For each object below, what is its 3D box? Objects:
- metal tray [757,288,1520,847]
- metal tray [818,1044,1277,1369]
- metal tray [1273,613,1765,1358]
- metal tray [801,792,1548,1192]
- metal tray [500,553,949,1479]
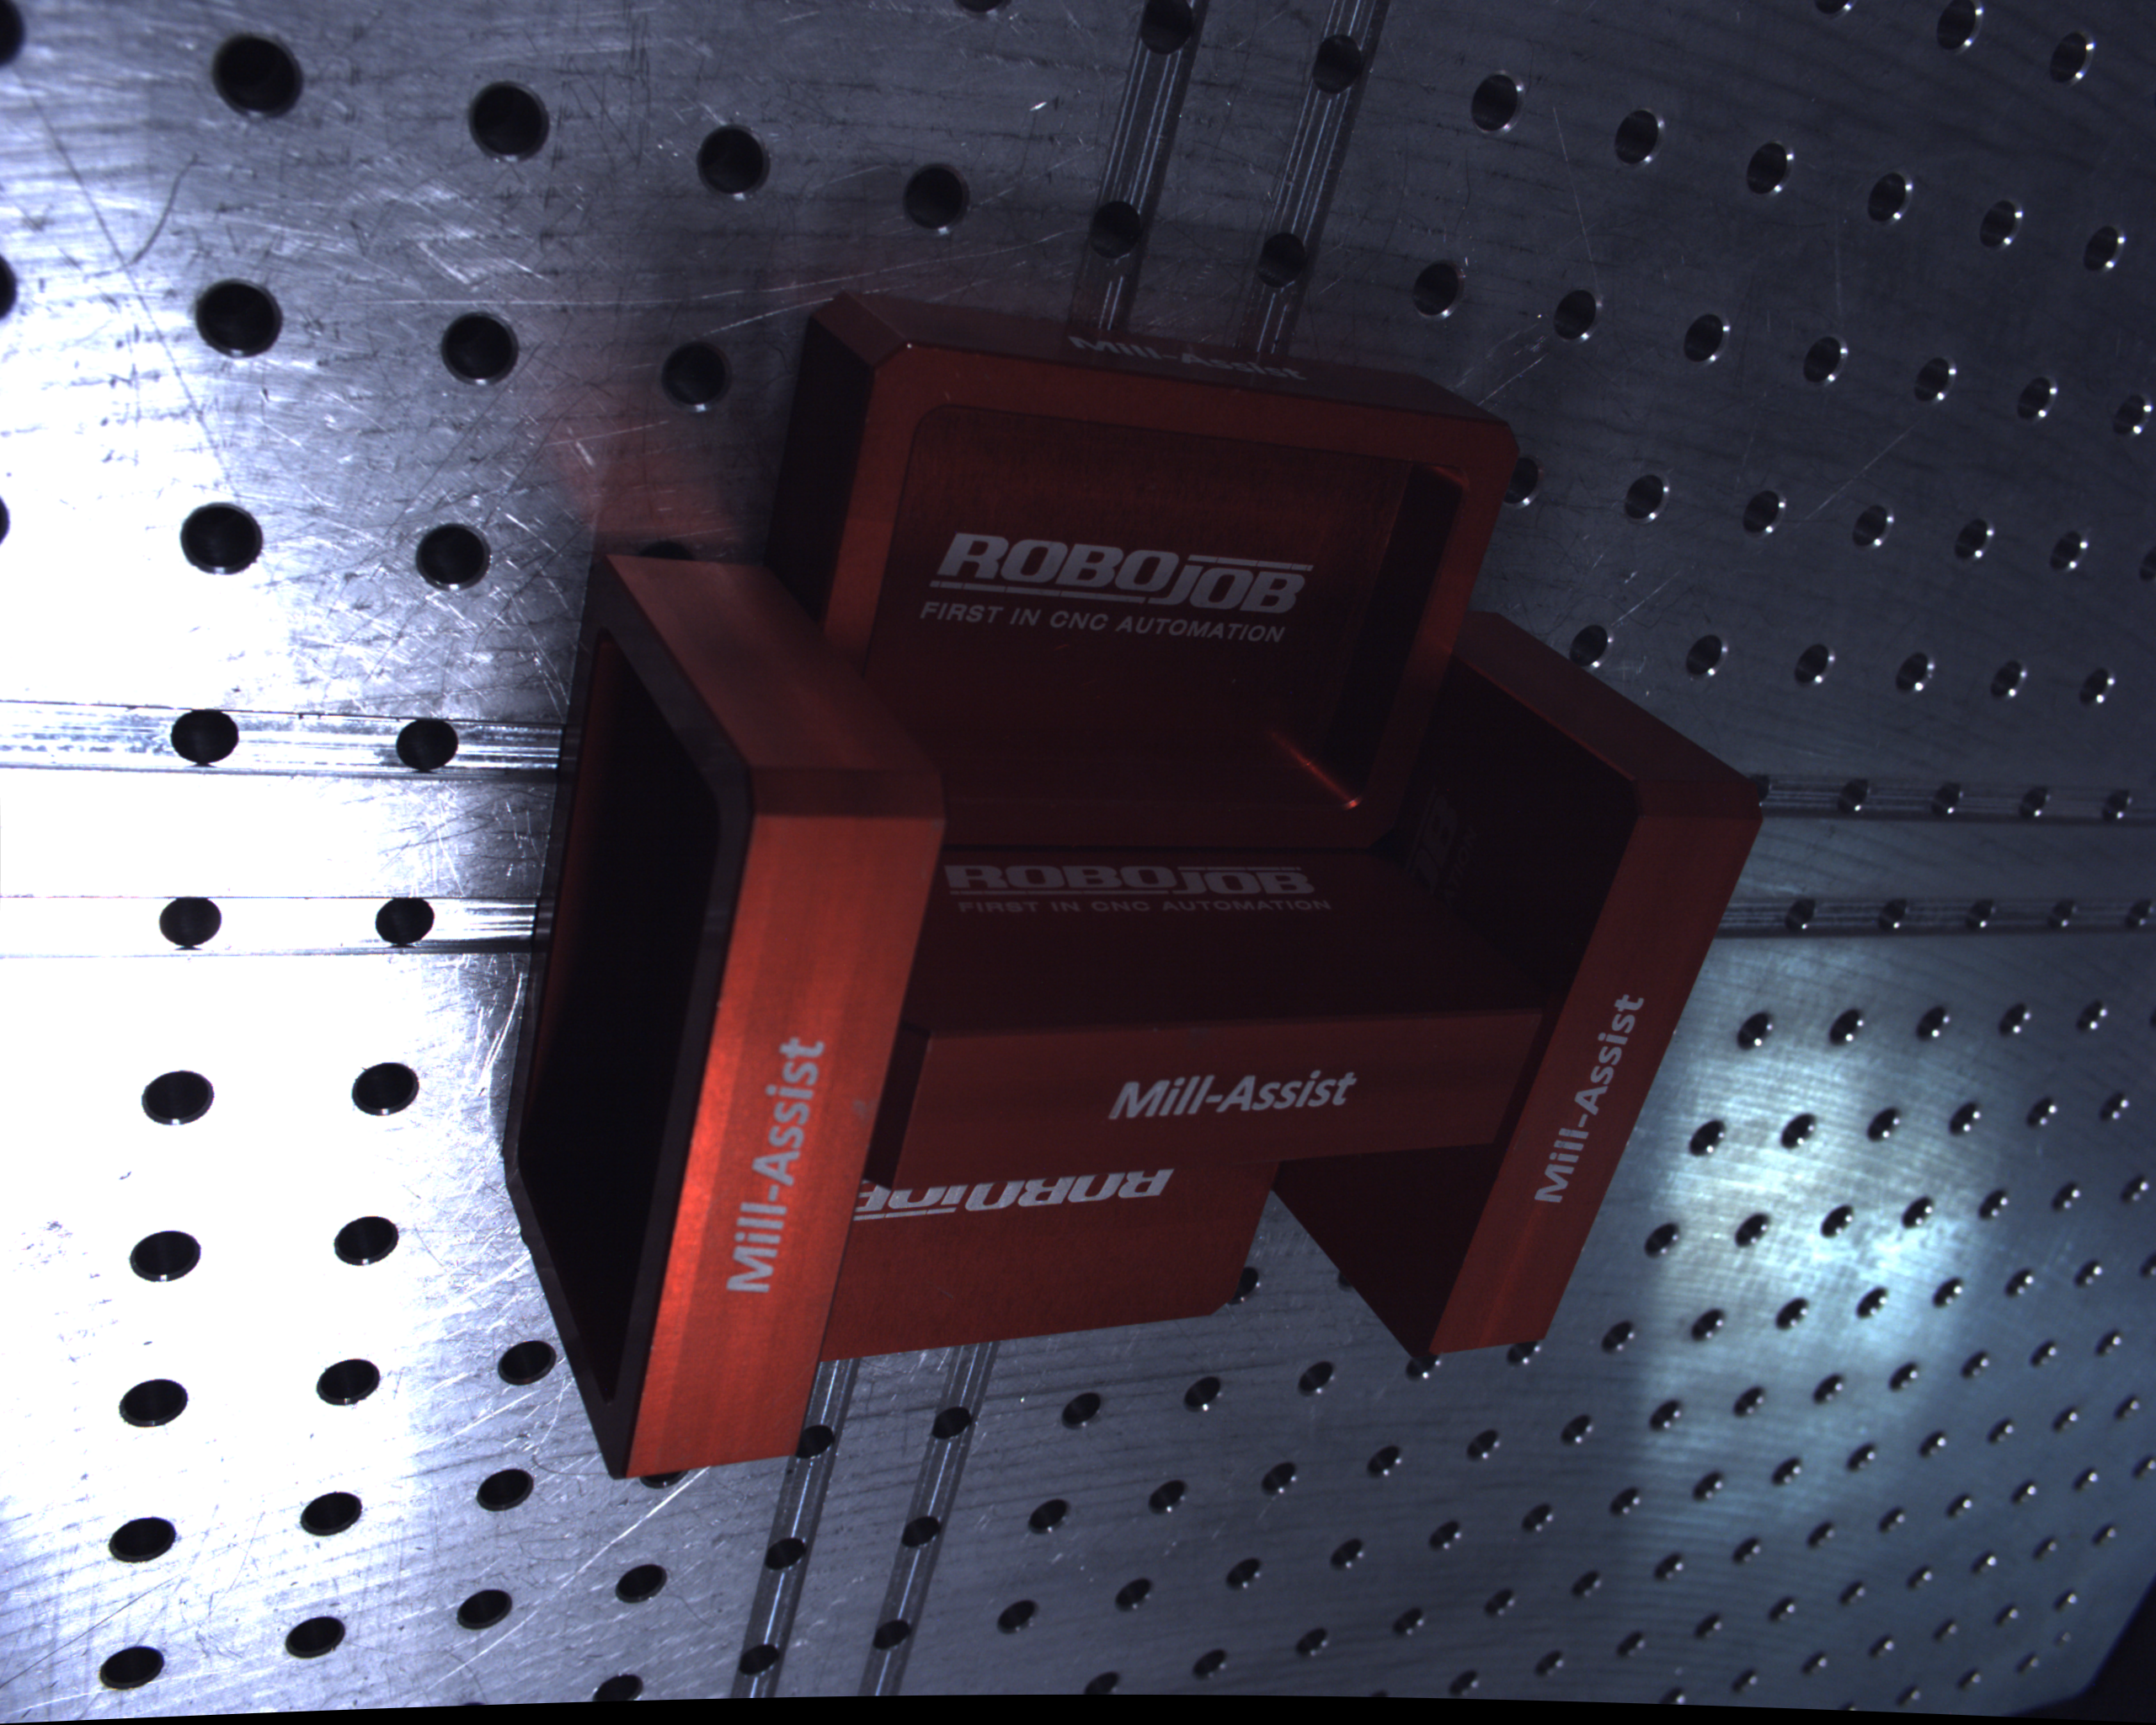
[{"bbox_3d":[0.010,-0.049,0.384,0.131,0.030,0.089,0,118,-29],"label":"metal tray"},{"bbox_3d":[-0.019,0.057,0.433,0.131,0.030,0.089,0,118,-29],"label":"metal tray"},{"bbox_3d":[0.078,0.023,0.427,0.030,0.090,0.129,1,118,-29],"label":"metal tray"},{"bbox_3d":[0.008,0.018,0.384,0.131,0.090,0.030,1,118,-29],"label":"metal tray"},{"bbox_3d":[-0.065,0.024,0.349,0.030,0.090,0.129,1,118,-29],"label":"metal tray"}]
